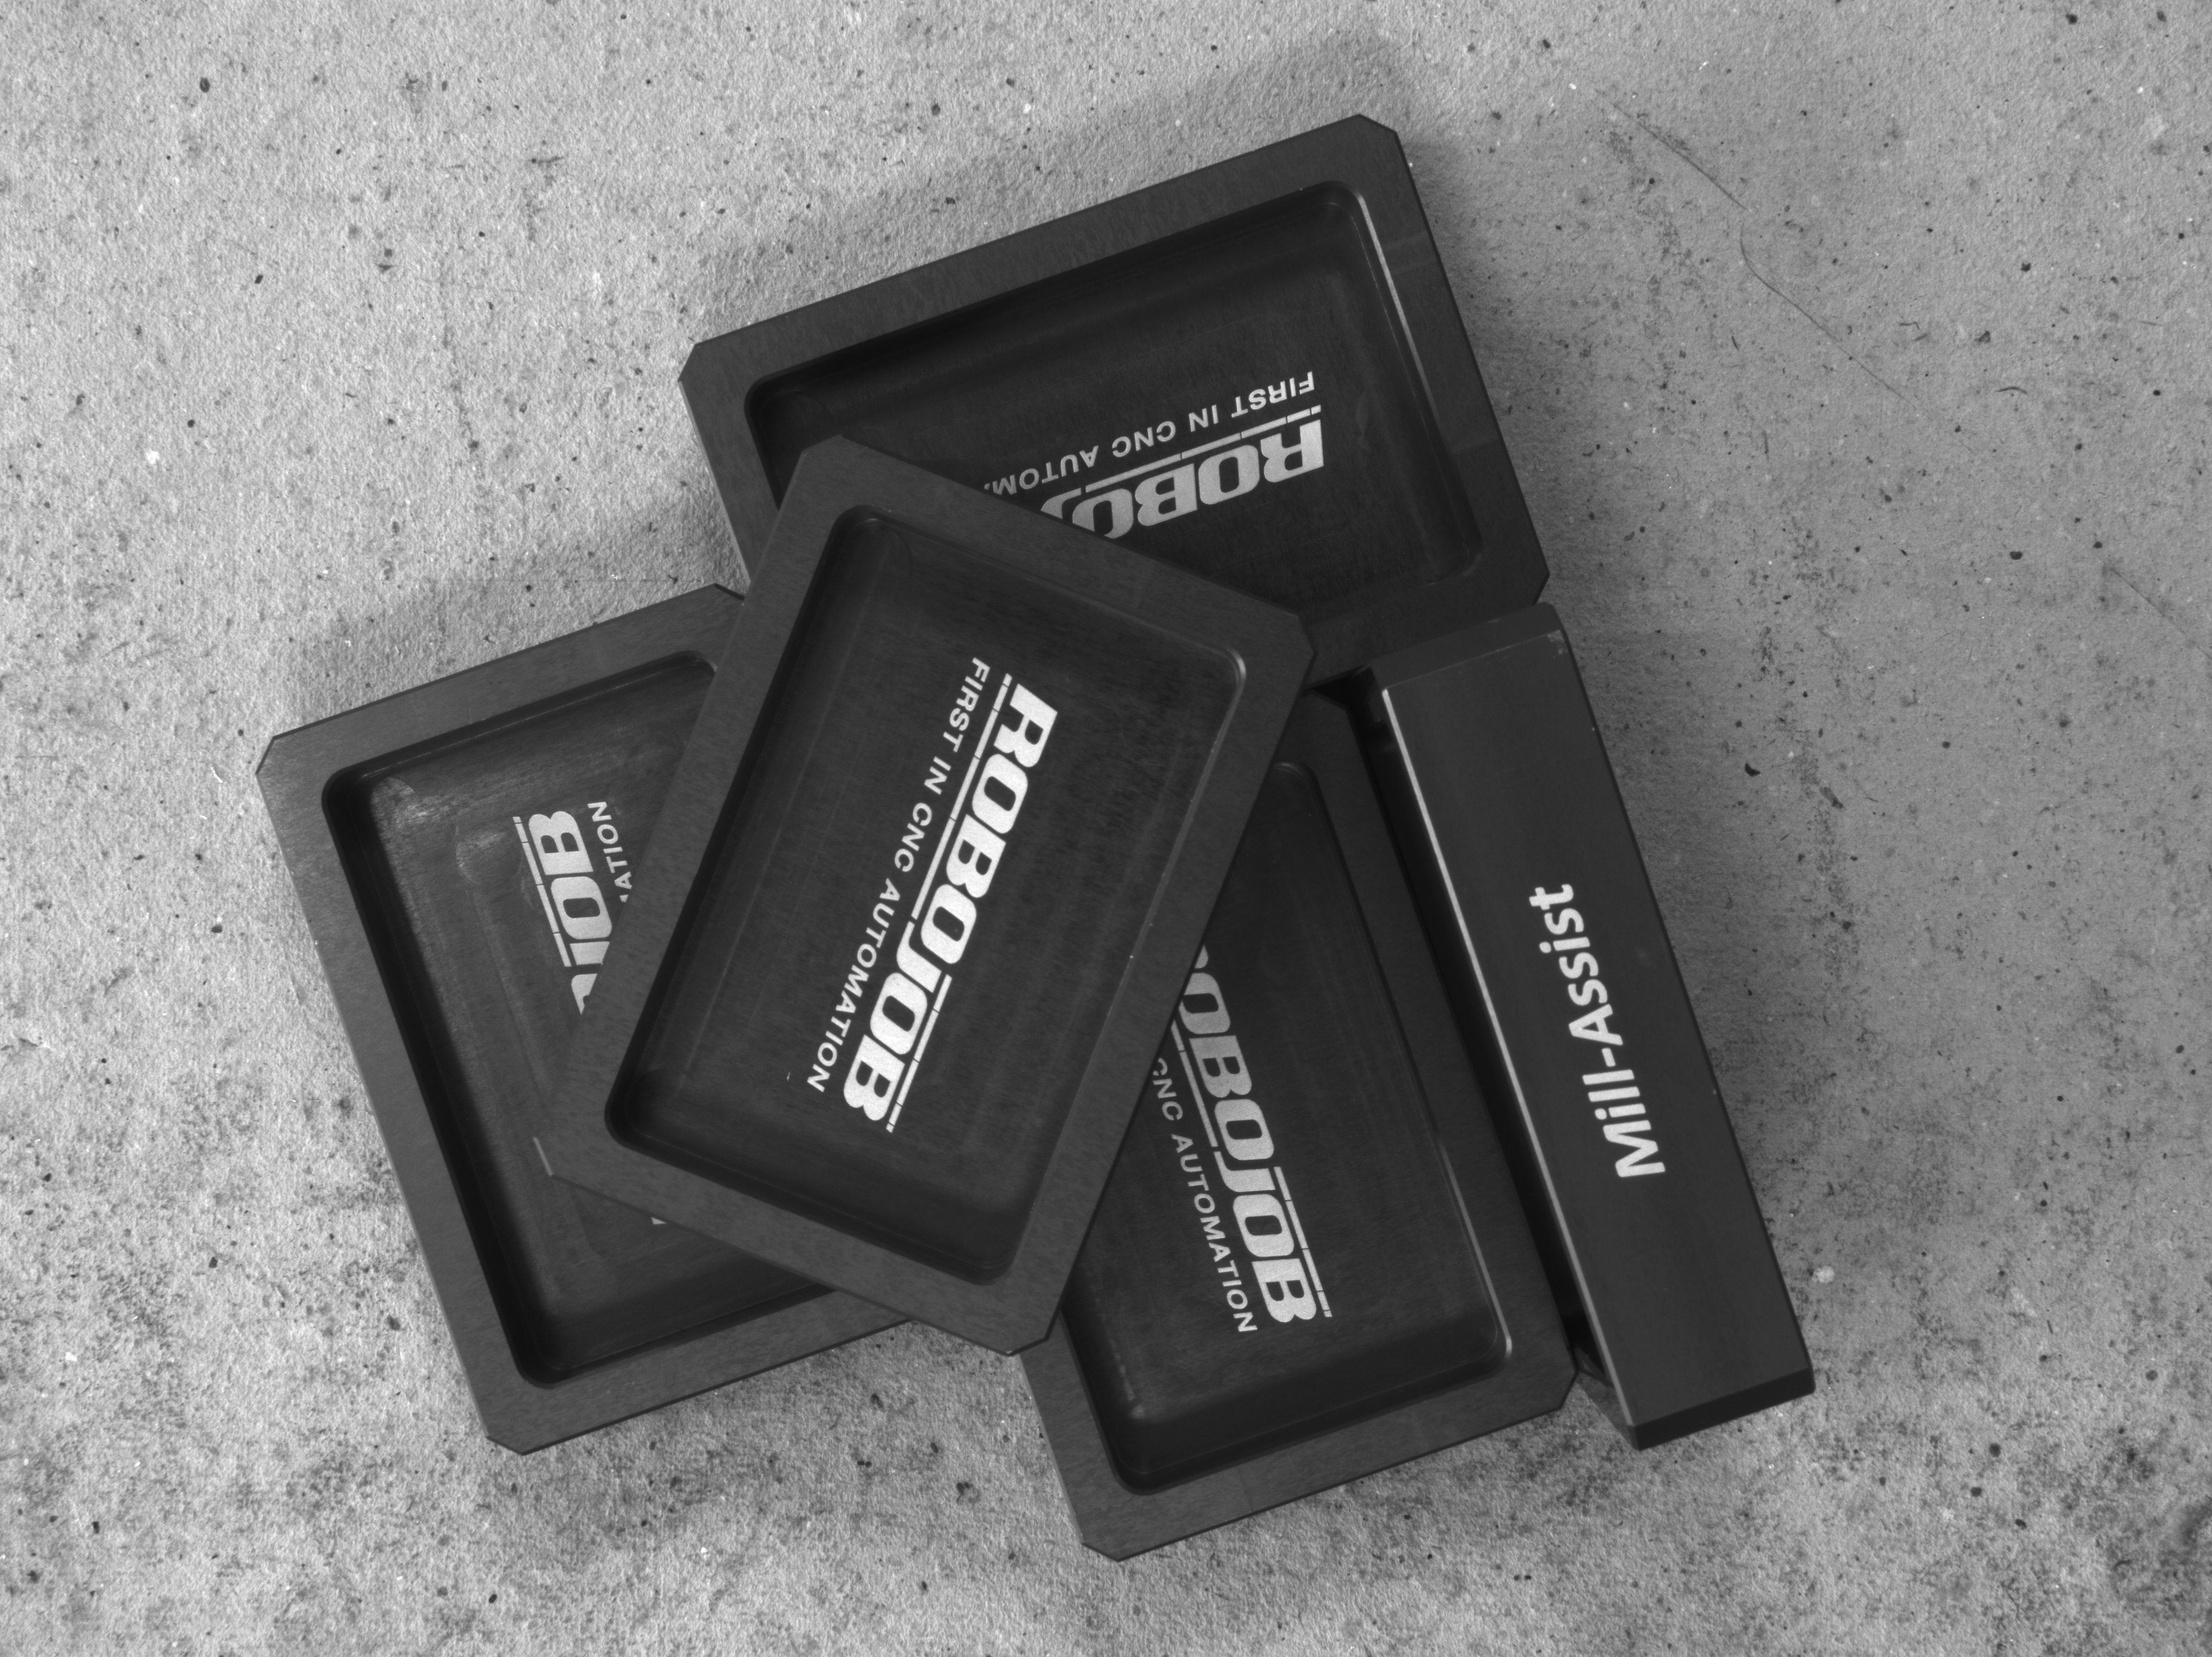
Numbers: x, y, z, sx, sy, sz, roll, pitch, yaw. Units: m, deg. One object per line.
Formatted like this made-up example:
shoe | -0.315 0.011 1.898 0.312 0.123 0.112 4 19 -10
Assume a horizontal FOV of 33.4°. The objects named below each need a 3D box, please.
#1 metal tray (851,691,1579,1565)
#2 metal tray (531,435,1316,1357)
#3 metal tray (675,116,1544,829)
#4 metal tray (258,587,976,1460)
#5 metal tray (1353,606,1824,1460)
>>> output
metal tray | 0.019 0.051 0.641 0.090 0.030 0.130 -19 91 1
metal tray | -0.030 0.011 0.614 0.090 0.030 0.130 22 90 1
metal tray | 0.001 -0.060 0.644 0.130 0.030 0.090 -19 90 1
metal tray | -0.083 0.033 0.642 0.090 0.030 0.130 -19 89 0
metal tray | 0.077 0.032 0.611 0.030 0.090 0.130 -18 90 0
